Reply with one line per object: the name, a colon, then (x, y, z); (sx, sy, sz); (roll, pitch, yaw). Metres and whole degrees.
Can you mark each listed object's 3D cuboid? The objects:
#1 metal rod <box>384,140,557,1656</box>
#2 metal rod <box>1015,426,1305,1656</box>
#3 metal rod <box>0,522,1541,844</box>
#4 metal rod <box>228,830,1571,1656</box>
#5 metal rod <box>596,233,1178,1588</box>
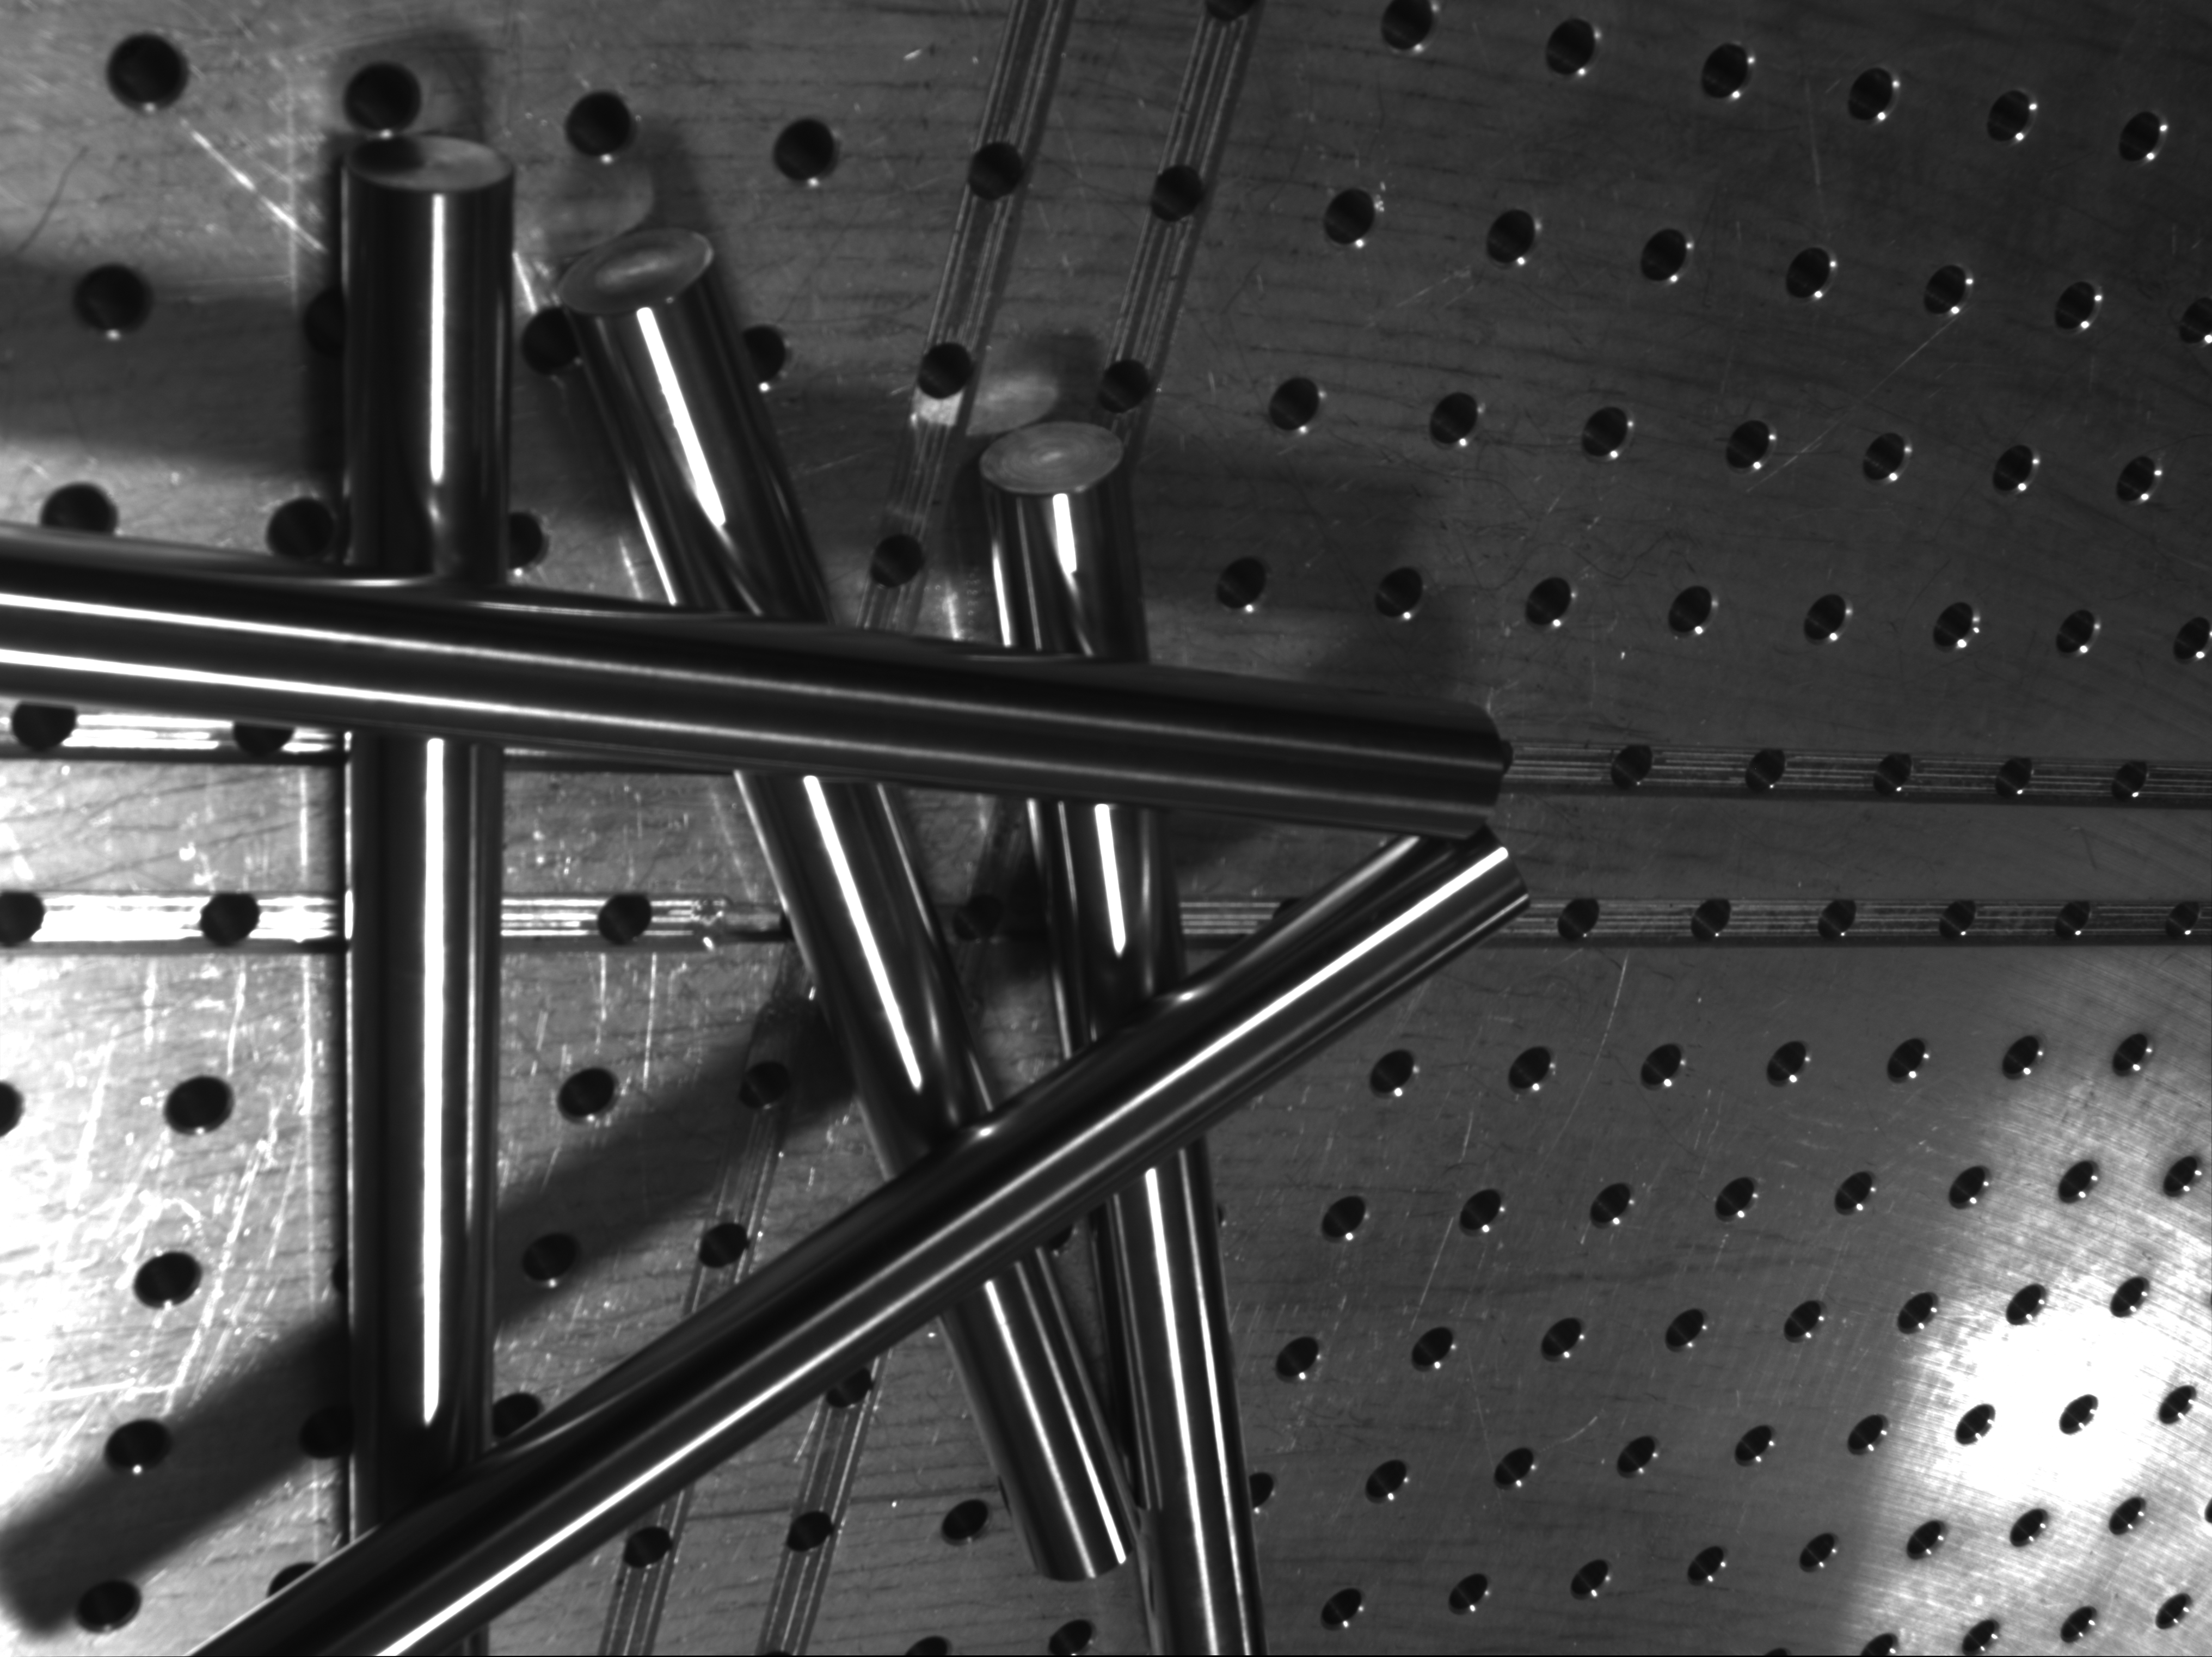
metal rod: (-0.107, 0.033, 0.611); (0.025, 0.025, 0.300); (-9, 122, -25)
metal rod: (0.014, 0.061, 0.699); (0.025, 0.025, 0.300); (-21, 127, -18)
metal rod: (-0.056, -0.021, 0.575); (0.301, 0.025, 0.025); (5, 115, -33)
metal rod: (-0.046, 0.088, 0.648); (0.300, 0.025, 0.025); (-34, 130, -8)
metal rod: (-0.032, 0.030, 0.653); (0.025, 0.025, 0.300); (-27, 128, -13)
